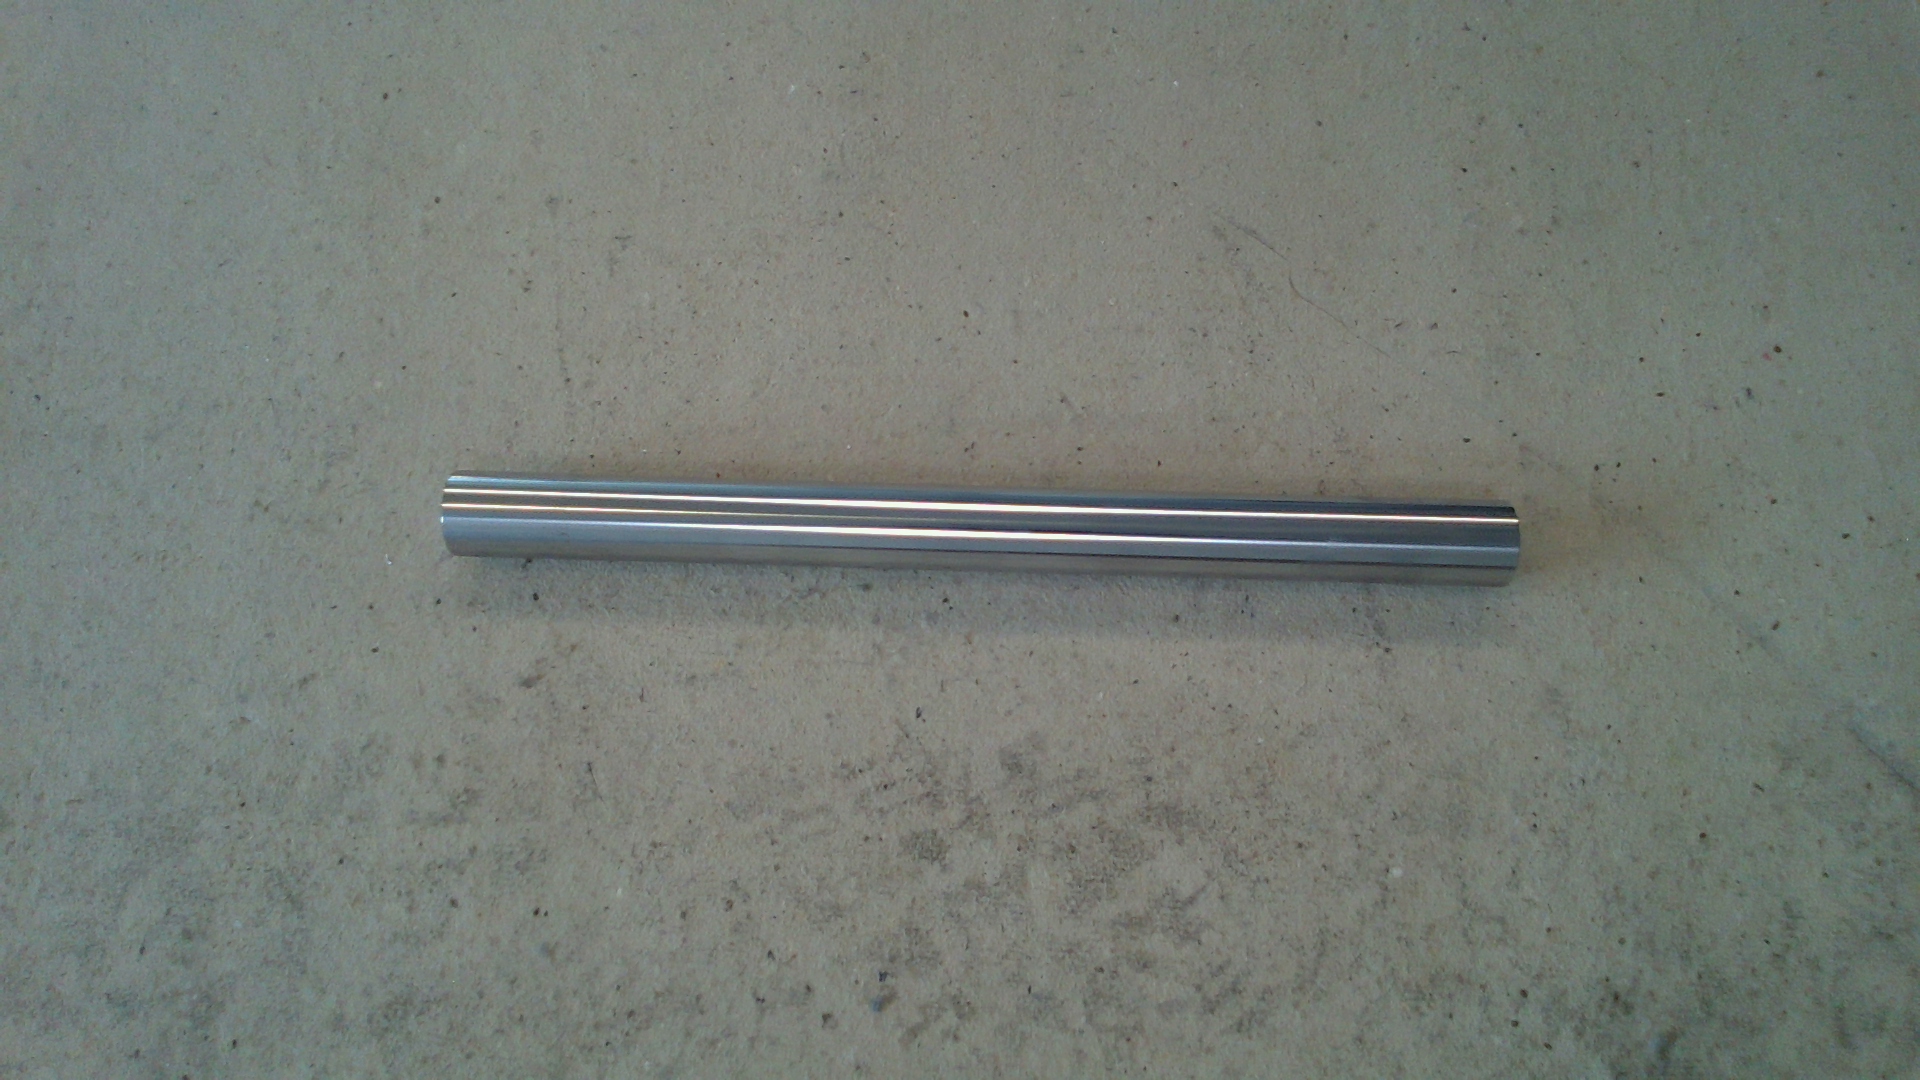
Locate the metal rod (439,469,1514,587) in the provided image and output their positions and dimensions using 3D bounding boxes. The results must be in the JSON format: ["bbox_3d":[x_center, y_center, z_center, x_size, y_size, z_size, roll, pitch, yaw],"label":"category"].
[{"bbox_3d":[0.004,-0.004,0.396,0.300,0.025,0.025,2,70,0],"label":"metal rod"}]
